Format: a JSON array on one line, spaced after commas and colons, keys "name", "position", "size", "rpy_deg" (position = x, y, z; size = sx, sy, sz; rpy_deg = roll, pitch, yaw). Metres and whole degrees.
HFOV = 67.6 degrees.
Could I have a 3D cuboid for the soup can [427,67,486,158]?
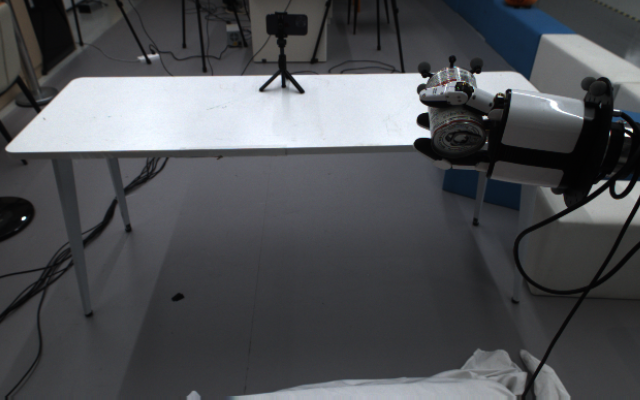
[{"name": "soup can", "position": [0.176, -0.116, 0.629], "size": [0.067, 0.067, 0.101], "rpy_deg": [3, 57, 1]}]
